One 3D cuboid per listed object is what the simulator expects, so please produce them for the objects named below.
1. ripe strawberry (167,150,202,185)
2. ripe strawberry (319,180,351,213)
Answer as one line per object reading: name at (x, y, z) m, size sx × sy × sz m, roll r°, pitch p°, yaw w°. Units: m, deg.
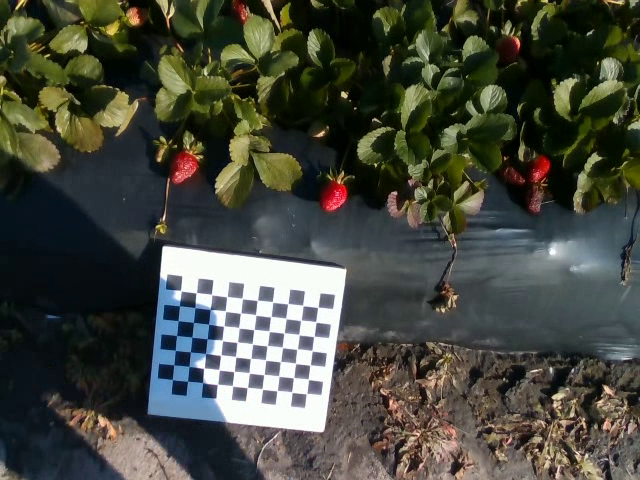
ripe strawberry at (-0.186, -0.095, 0.911) m, size 0.041 × 0.053 × 0.043 m, roll 18°, pitch -36°, yaw -10°
ripe strawberry at (0.017, -0.056, 0.922) m, size 0.043 × 0.042 × 0.050 m, roll -36°, pitch 17°, yaw 45°
